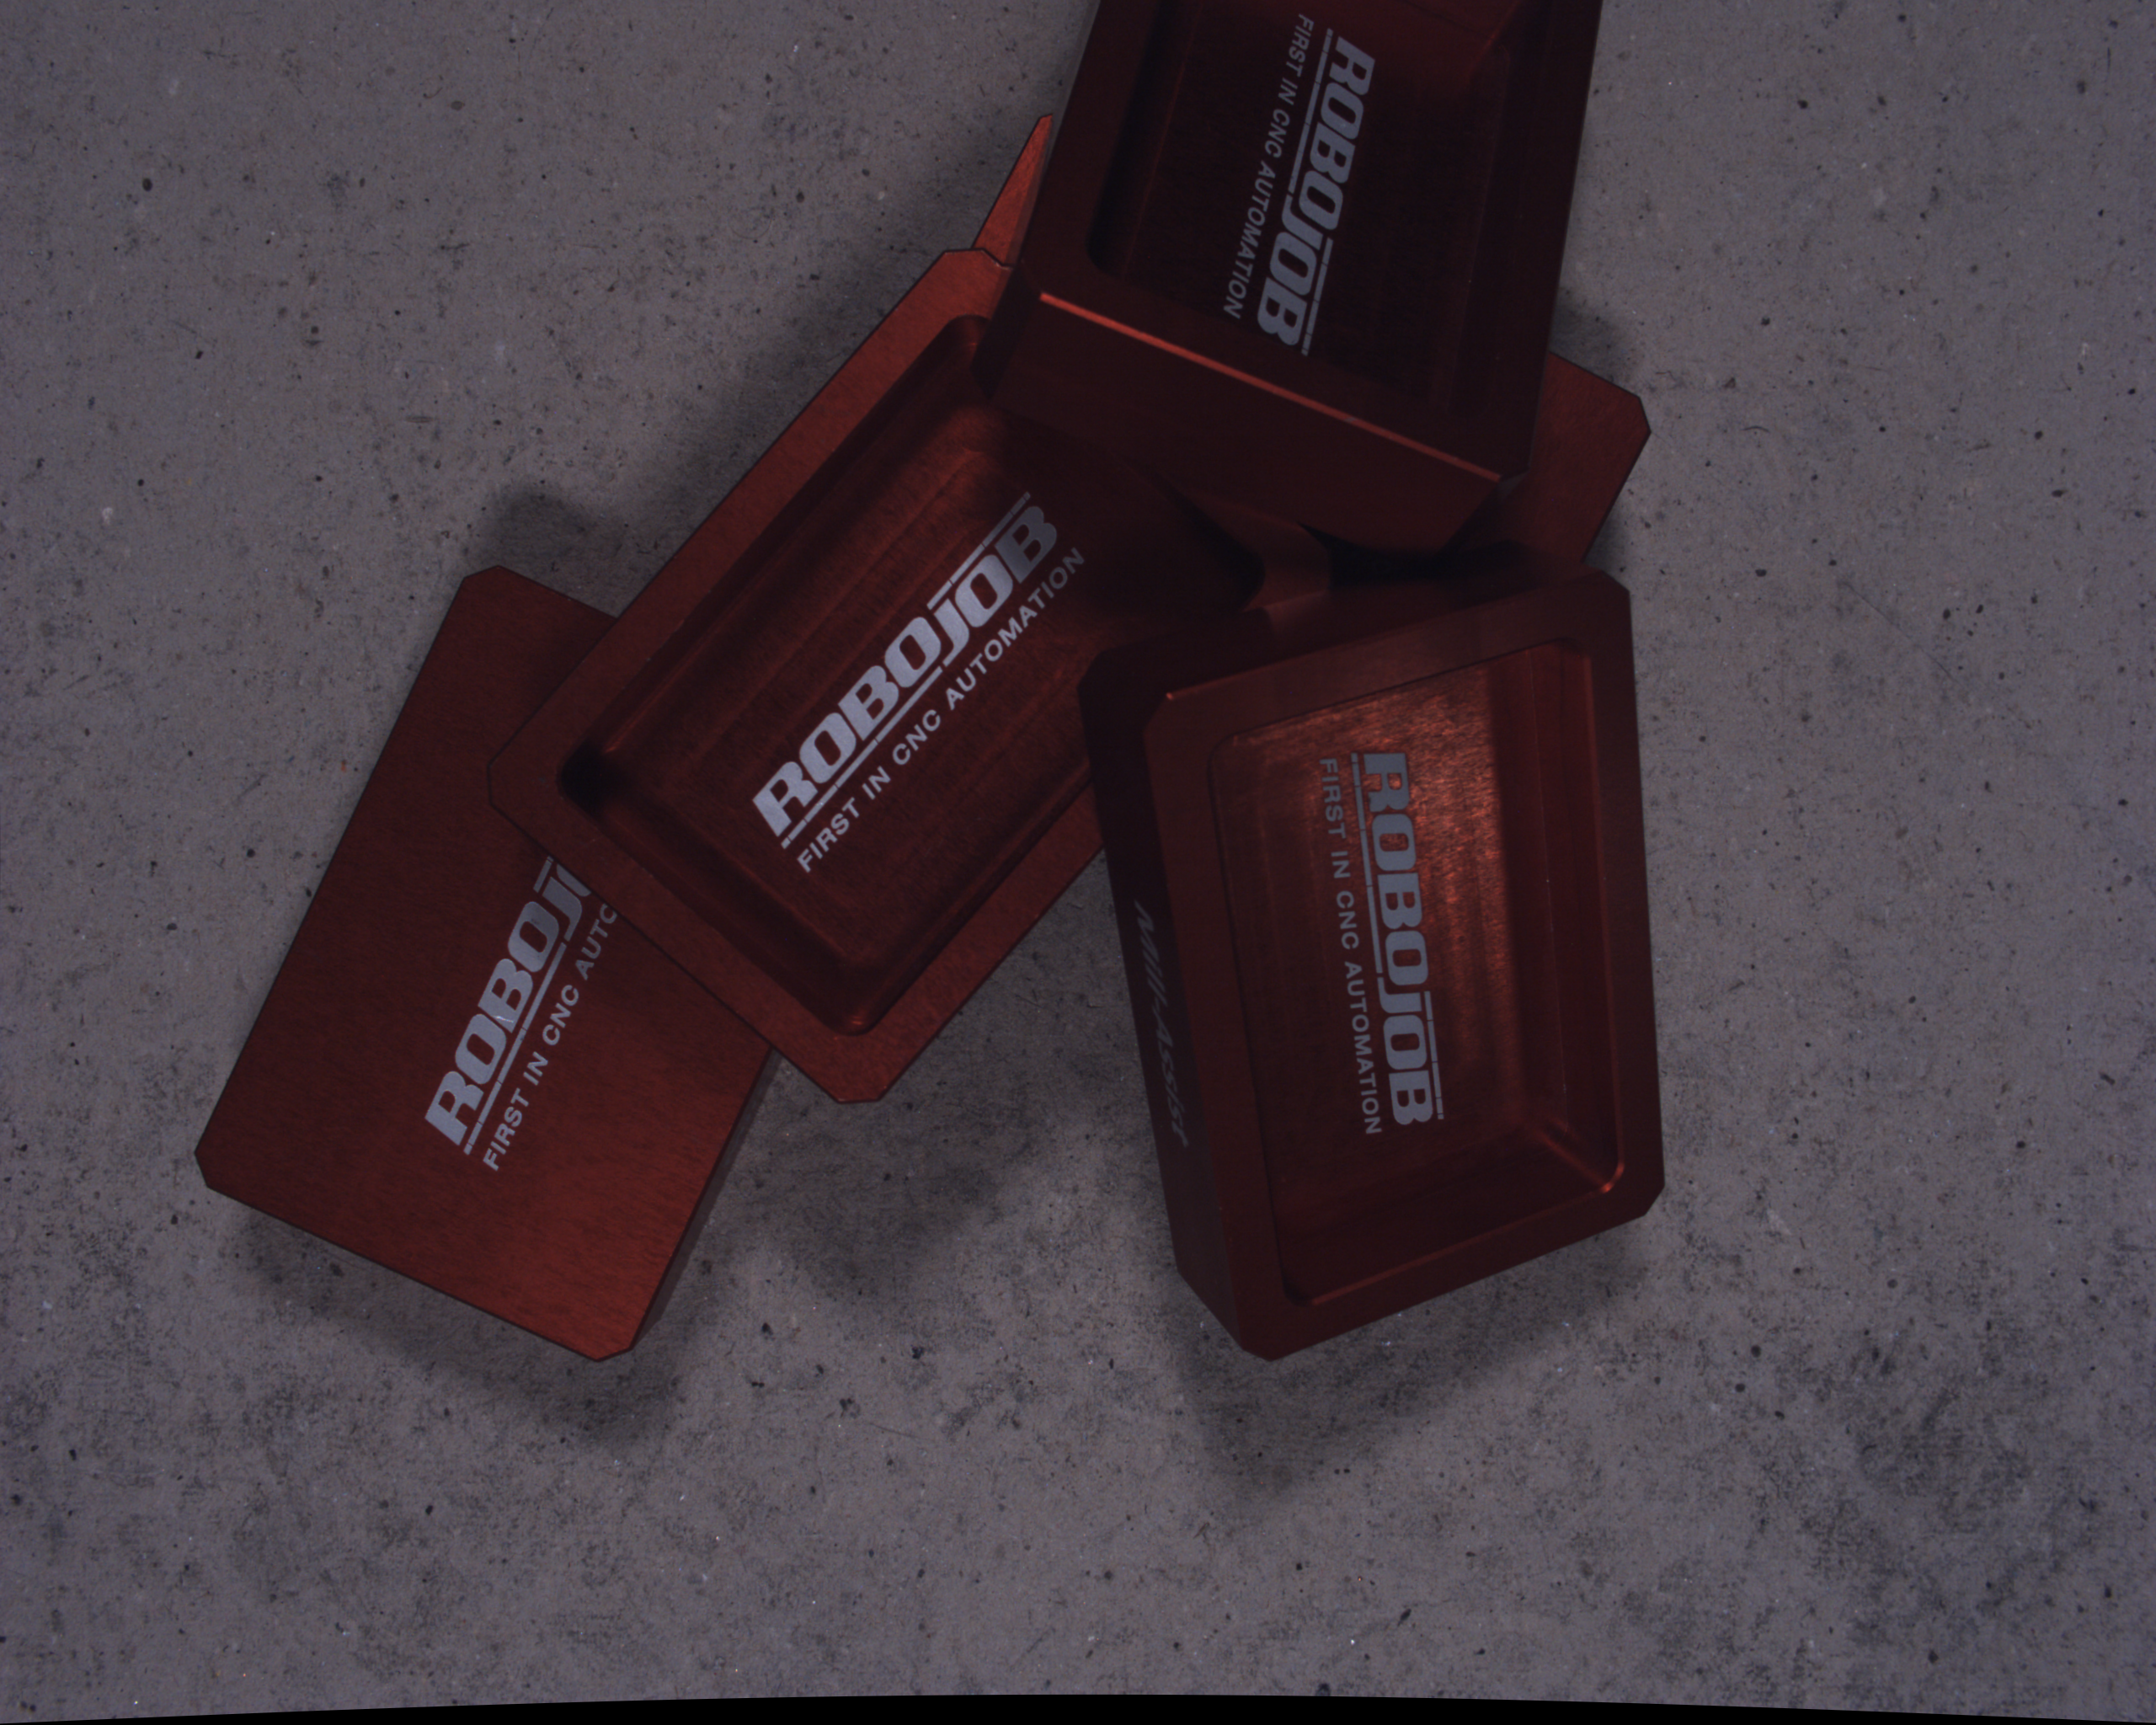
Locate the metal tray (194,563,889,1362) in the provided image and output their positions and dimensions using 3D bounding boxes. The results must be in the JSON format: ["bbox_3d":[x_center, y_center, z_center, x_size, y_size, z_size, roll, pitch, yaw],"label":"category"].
[{"bbox_3d":[-0.100,0.019,0.407,0.090,0.030,0.129,25,90,-1],"label":"metal tray"}]

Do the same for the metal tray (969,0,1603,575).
[{"bbox_3d":[0.041,-0.125,0.375,0.091,0.030,0.130,20,62,-10],"label":"metal tray"}]

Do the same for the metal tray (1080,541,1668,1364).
[{"bbox_3d":[0.057,0.017,0.375,0.091,0.030,0.129,-17,115,-16],"label":"metal tray"}]

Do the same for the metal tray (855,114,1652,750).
[{"bbox_3d":[0.032,-0.076,0.409,0.131,0.030,0.090,27,90,-1],"label":"metal tray"}]

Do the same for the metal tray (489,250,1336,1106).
[{"bbox_3d":[-0.029,-0.032,0.378,0.090,0.030,0.130,41,90,-1],"label":"metal tray"}]
